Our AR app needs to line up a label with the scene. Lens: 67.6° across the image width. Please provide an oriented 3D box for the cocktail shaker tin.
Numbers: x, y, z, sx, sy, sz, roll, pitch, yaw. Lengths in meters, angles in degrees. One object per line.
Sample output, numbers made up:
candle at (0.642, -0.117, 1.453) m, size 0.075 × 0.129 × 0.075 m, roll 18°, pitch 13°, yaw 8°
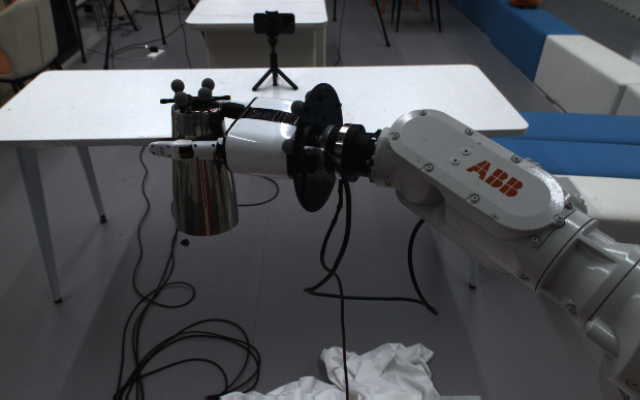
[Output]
cocktail shaker tin at (-0.160, -0.049, 0.669) m, size 0.093 × 0.170 × 0.093 m, roll 1°, pitch 27°, yaw -1°
